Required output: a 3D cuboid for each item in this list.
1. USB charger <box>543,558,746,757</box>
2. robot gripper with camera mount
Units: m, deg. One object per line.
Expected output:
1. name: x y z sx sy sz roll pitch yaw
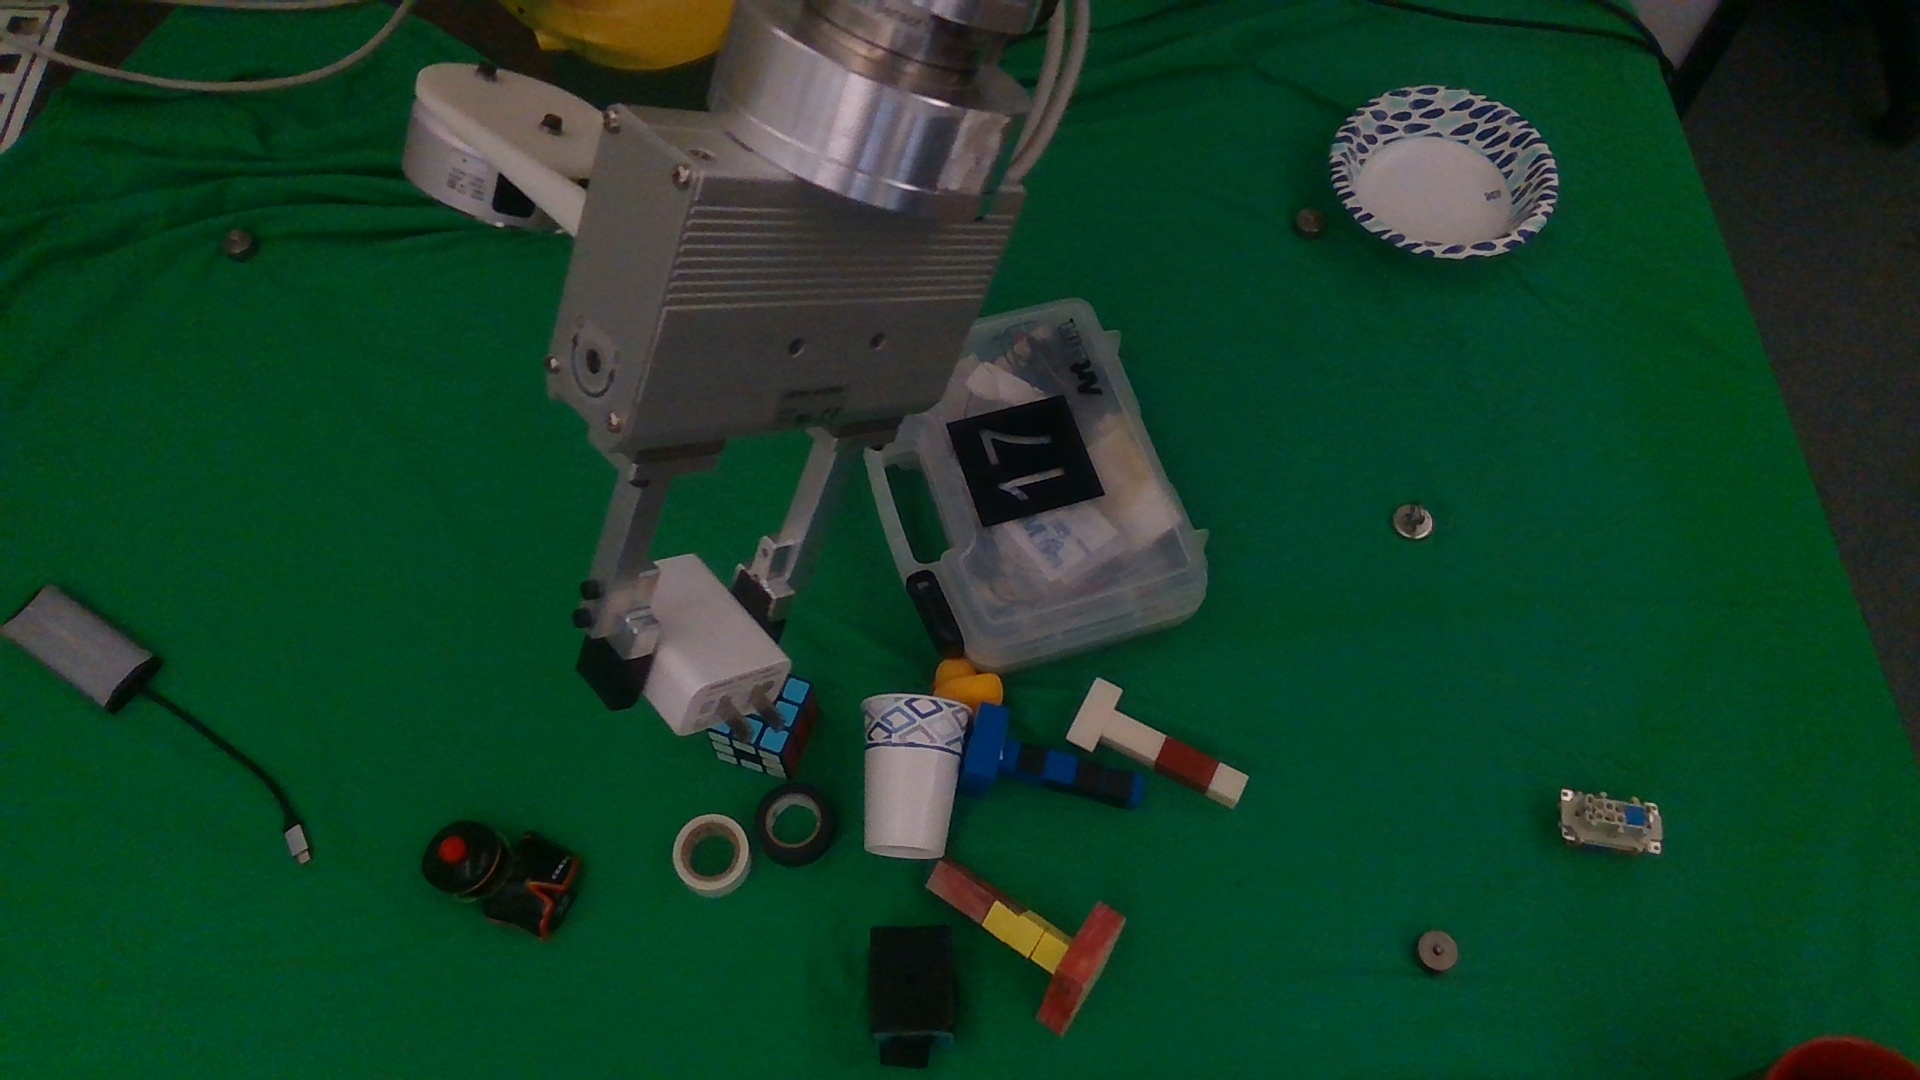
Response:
1. USB charger: -0.097 0.039 0.442 0.044 0.029 0.076 -15 45 -37
2. robot gripper with camera mount: -0.128 -0.069 0.441 0.194 0.159 0.118 43 34 26
